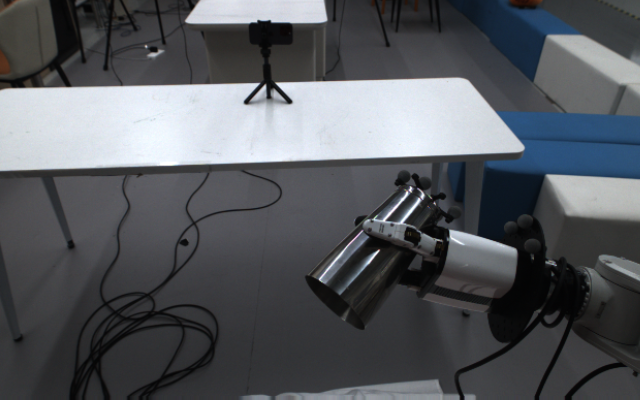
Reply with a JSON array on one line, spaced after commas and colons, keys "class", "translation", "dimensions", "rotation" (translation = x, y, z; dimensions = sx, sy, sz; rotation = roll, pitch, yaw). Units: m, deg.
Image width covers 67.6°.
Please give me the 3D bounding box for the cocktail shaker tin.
[{"class": "cocktail shaker tin", "translation": [0.073, 0.057, 0.590], "dimensions": [0.093, 0.093, 0.170], "rotation": [32, 67, 35]}]
